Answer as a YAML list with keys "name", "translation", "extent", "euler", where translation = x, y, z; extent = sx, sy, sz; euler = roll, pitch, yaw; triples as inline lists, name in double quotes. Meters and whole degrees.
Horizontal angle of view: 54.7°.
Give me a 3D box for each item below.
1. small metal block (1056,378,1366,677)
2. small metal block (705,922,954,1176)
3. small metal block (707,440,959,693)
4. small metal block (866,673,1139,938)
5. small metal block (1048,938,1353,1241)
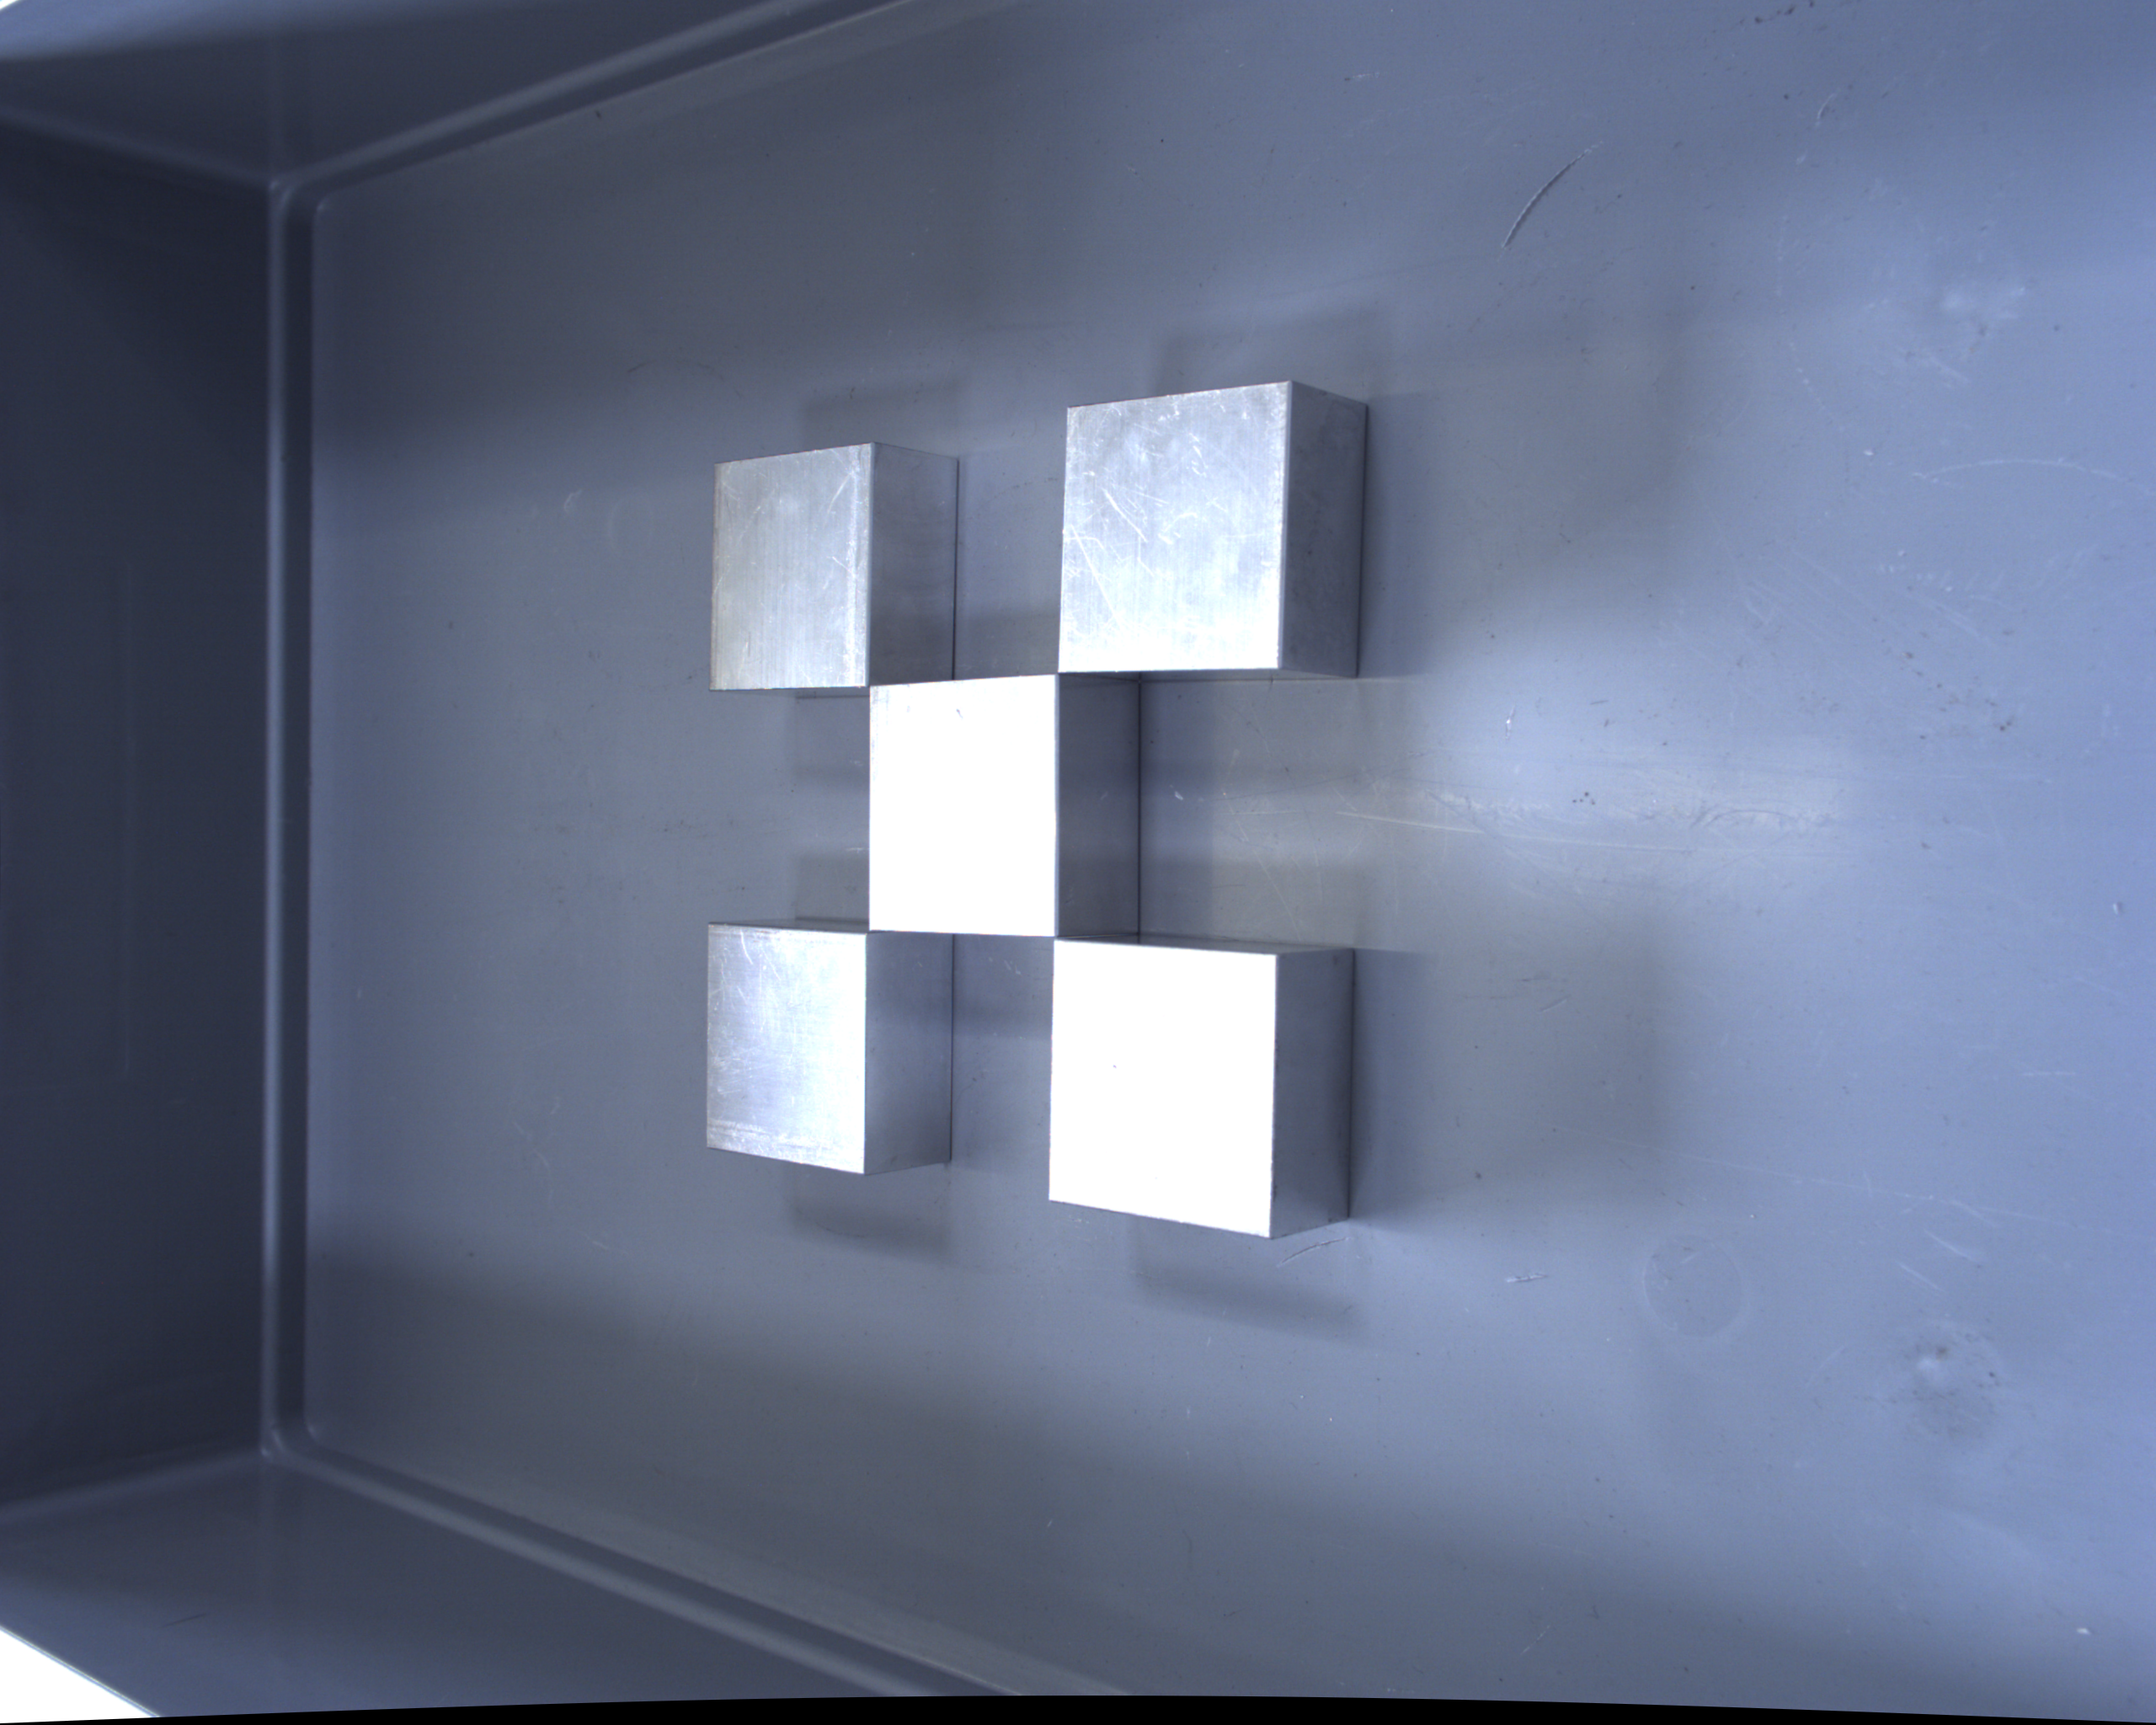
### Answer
- name: "small metal block"
  translation: [0.024, -0.060, 0.384]
  extent: [0.050, 0.025, 0.050]
  euler: [3, 92, 40]
- name: "small metal block"
  translation: [-0.054, 0.038, 0.449]
  extent: [0.050, 0.025, 0.050]
  euler: [1, 91, 40]
- name: "small metal block"
  translation: [-0.053, -0.062, 0.448]
  extent: [0.050, 0.025, 0.050]
  euler: [2, 92, 40]
- name: "small metal block"
  translation: [-0.015, -0.011, 0.417]
  extent: [0.050, 0.025, 0.050]
  euler: [1, 91, 40]
- name: "small metal block"
  translation: [0.022, 0.040, 0.386]
  extent: [0.050, 0.025, 0.050]
  euler: [2, 91, 40]
